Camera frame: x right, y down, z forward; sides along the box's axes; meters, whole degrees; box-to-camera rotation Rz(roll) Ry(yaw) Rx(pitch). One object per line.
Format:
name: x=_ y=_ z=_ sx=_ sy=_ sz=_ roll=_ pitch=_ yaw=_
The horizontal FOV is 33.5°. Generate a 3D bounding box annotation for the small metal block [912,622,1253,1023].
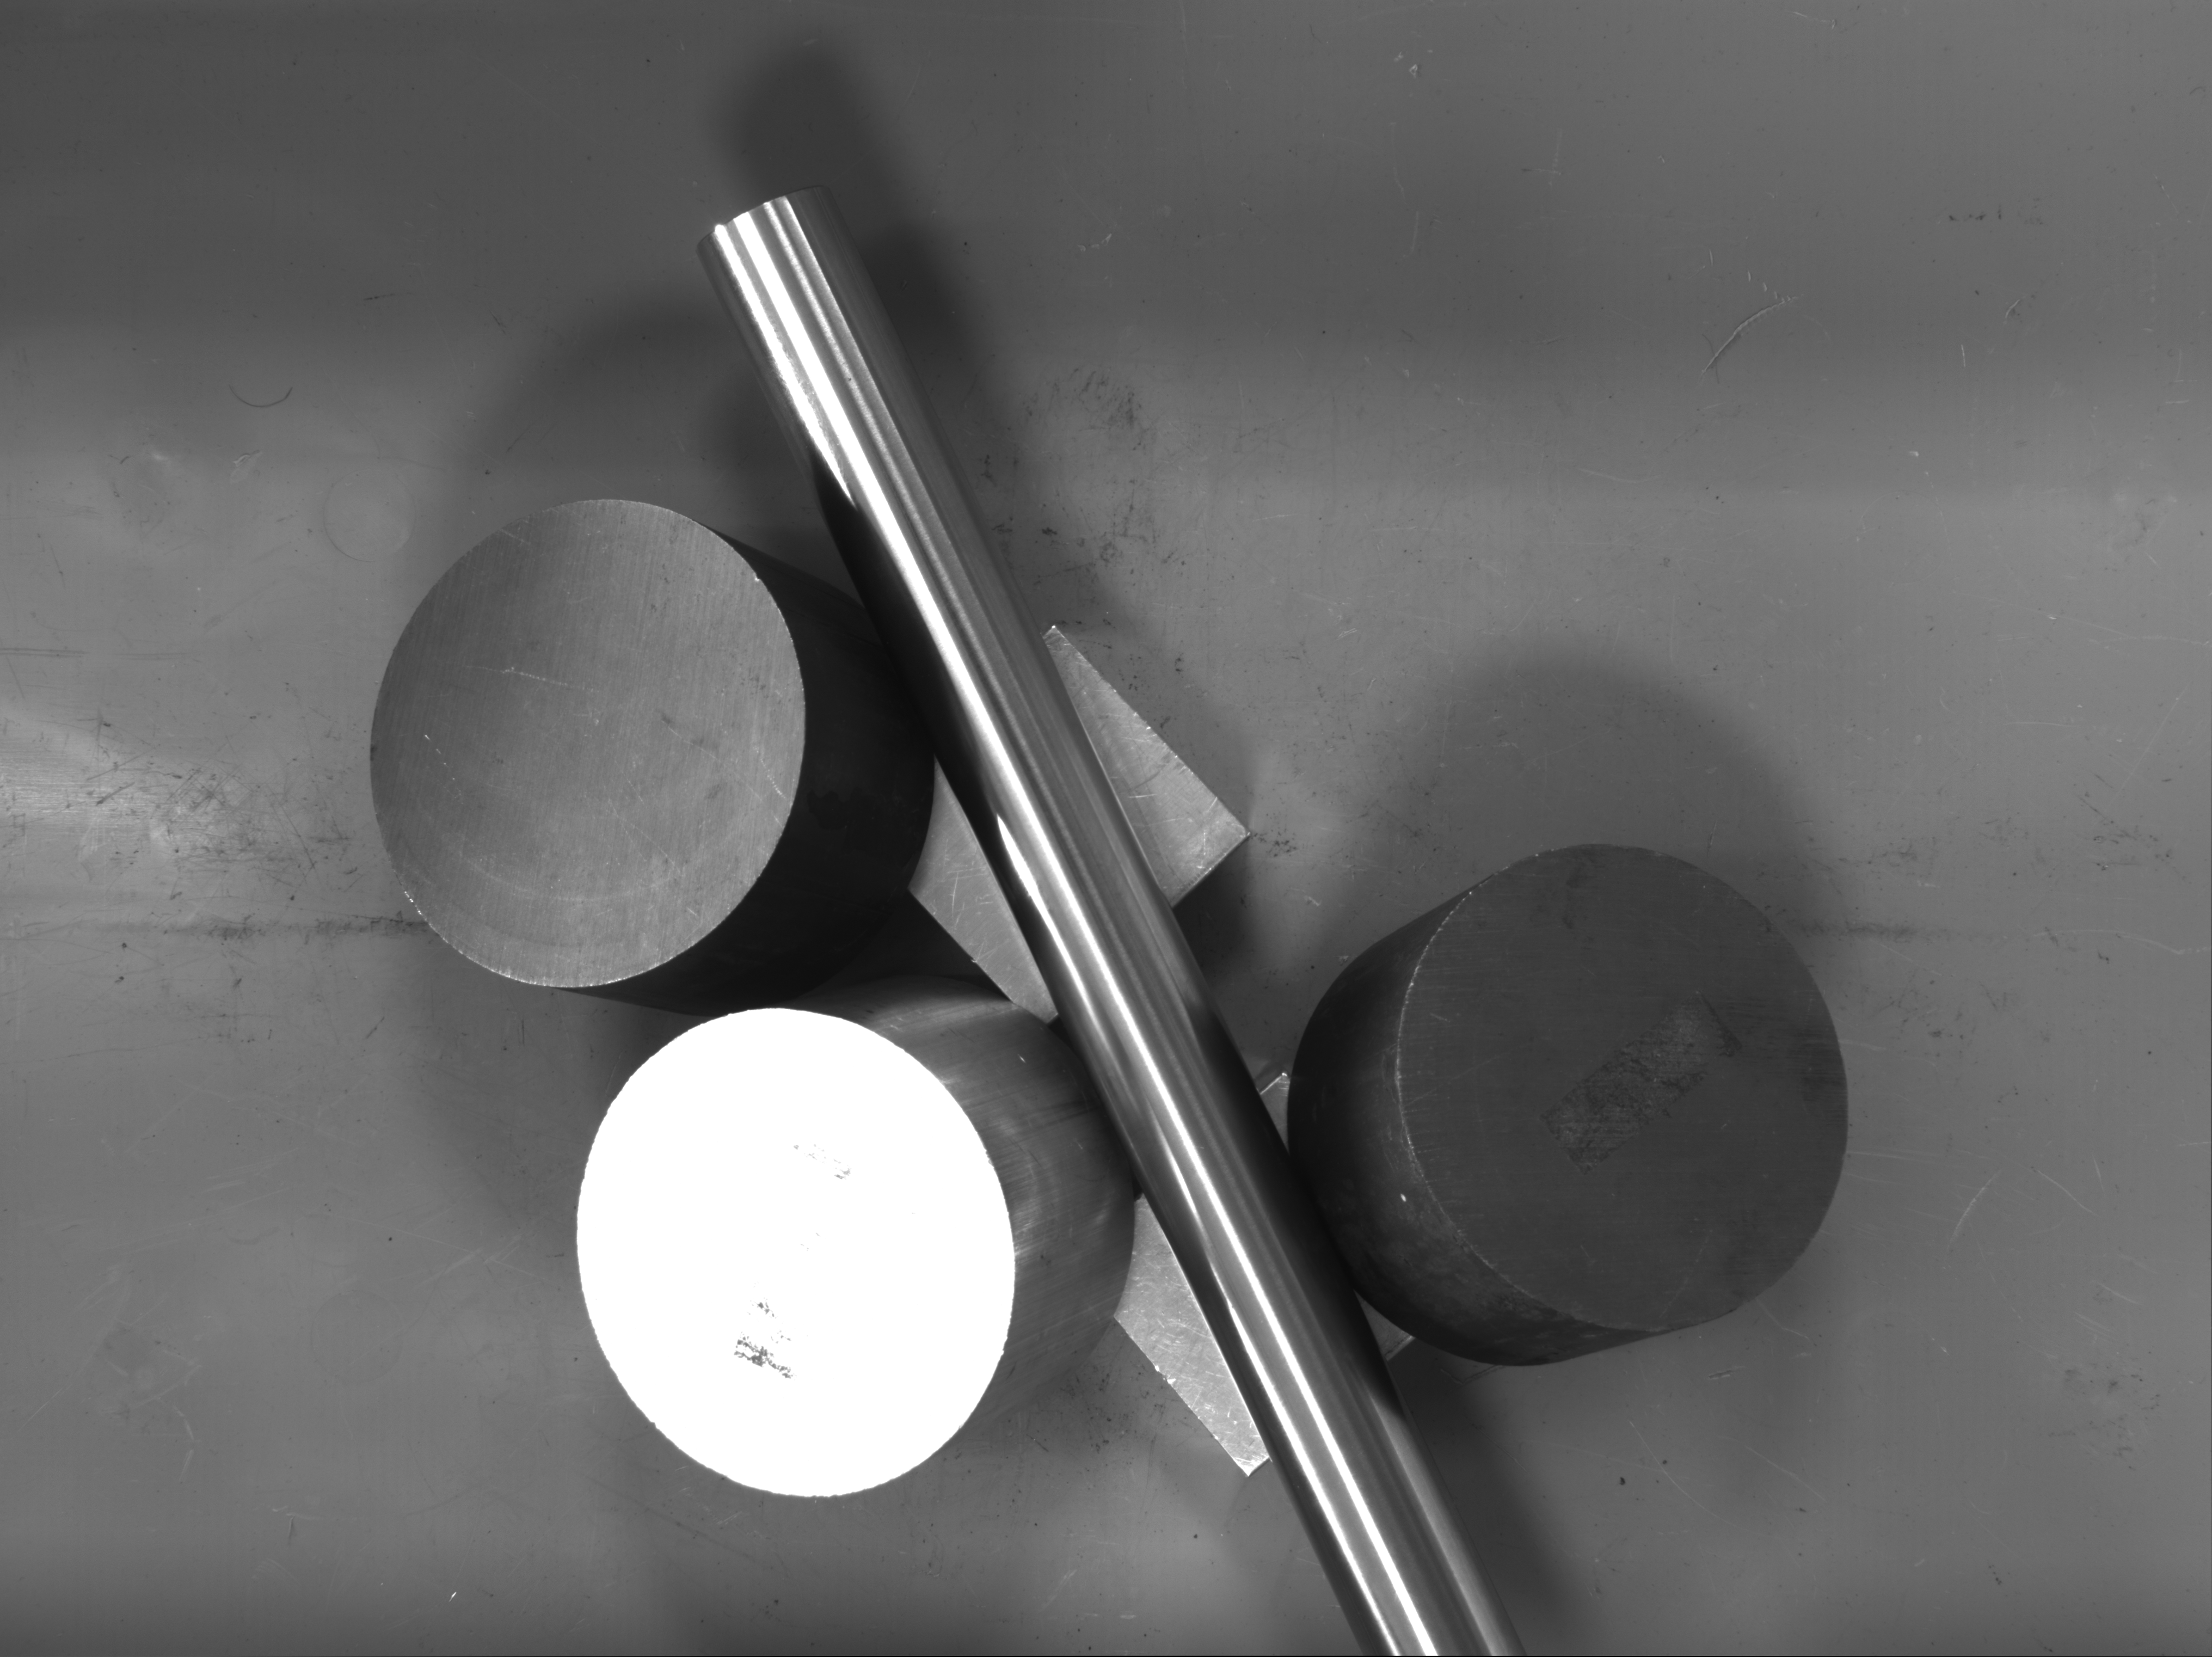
small metal block: x=-0.010 y=0.000 z=0.645 sx=0.050 sy=0.025 sz=0.050 roll=-43 pitch=90 yaw=0

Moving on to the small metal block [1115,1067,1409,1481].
small metal block: x=0.027 y=0.077 z=0.645 sx=0.050 sy=0.025 sz=0.050 roll=-40 pitch=90 yaw=0

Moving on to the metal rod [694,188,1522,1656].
metal rod: x=0.006 y=0.033 z=0.619 sx=0.025 sy=0.025 sz=0.300 roll=-25 pitch=90 yaw=0

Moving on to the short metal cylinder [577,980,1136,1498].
short metal cylinder: x=-0.041 y=0.067 z=0.619 sx=0.080 sy=0.050 sz=0.080 roll=2 pitch=94 yaw=23

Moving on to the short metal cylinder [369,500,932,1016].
short metal cylinder: x=-0.076 y=-0.010 z=0.618 sx=0.080 sy=0.050 sz=0.080 roll=-3 pitch=81 yaw=21

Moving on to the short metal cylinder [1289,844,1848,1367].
short metal cylinder: x=0.077 y=0.048 z=0.619 sx=0.080 sy=0.050 sz=0.080 roll=5 pitch=74 yaw=-17
